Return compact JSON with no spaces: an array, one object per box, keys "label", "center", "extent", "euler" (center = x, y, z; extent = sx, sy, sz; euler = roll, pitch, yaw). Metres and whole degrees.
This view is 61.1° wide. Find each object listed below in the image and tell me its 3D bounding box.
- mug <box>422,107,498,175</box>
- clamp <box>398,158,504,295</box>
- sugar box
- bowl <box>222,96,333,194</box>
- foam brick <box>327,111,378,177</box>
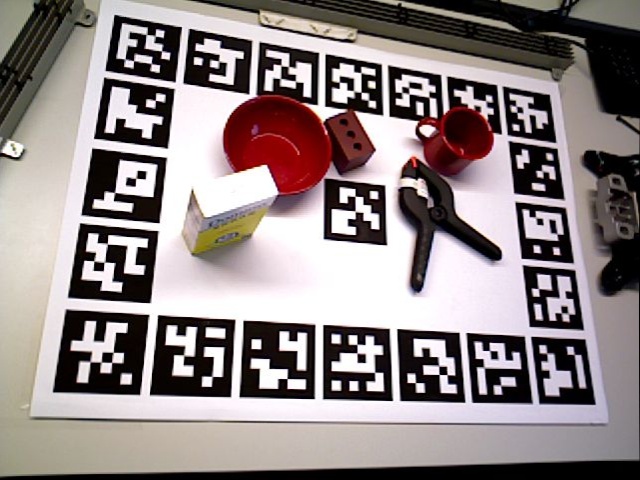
[{"label":"mug","center":[0.213,-0.161,0.856],"extent":[0.117,0.083,0.092],"euler":[31,67,-9]},{"label":"clamp","center":[0.176,-0.036,0.830],"extent":[0.163,0.037,0.202],"euler":[-19,81,-18]},{"label":"sugar box","center":[-0.119,-0.030,0.675],"extent":[0.091,0.179,0.045],"euler":[-20,81,-23]},{"label":"bowl","center":[-0.065,-0.132,0.786],"extent":[0.160,0.056,0.160],"euler":[5,73,-16]},{"label":"foam brick","center":[0.044,-0.145,0.829],"extent":[0.052,0.052,0.078],"euler":[-23,82,-20]}]
